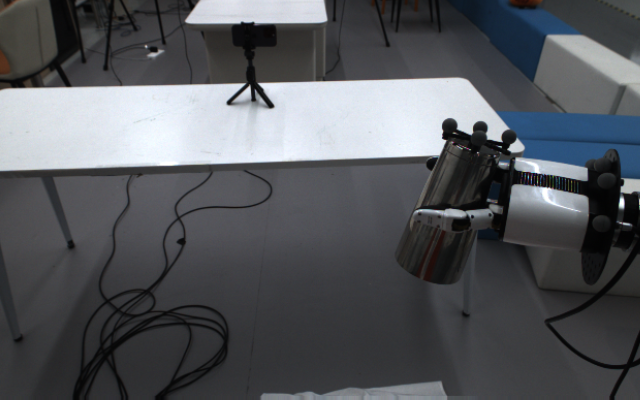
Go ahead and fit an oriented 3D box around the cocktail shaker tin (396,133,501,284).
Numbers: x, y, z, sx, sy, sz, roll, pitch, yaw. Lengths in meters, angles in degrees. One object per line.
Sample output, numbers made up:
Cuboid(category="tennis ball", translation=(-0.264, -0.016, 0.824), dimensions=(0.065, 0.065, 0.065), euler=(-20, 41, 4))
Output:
Cuboid(category="cocktail shaker tin", translation=(0.167, 0.008, 0.614), dimensions=(0.093, 0.170, 0.093), euler=(12, 24, -5))
